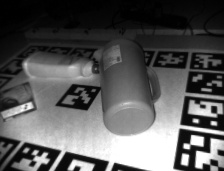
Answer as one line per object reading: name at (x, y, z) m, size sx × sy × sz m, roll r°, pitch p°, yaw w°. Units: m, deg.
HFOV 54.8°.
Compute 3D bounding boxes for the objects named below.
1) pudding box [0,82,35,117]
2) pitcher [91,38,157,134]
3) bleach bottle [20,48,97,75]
pudding box at (-0.279, 0.033, 0.623) m, size 0.090 × 0.039 × 0.112 m, roll -19°, pitch 41°, yaw -19°
pitcher at (0.038, 0.000, 0.555) m, size 0.191 × 0.133 × 0.241 m, roll 16°, pitch 39°, yaw -22°
bleach bottle at (-0.168, -0.078, 0.722) m, size 0.249 × 0.068 × 0.102 m, roll 5°, pitch 46°, yaw 15°
